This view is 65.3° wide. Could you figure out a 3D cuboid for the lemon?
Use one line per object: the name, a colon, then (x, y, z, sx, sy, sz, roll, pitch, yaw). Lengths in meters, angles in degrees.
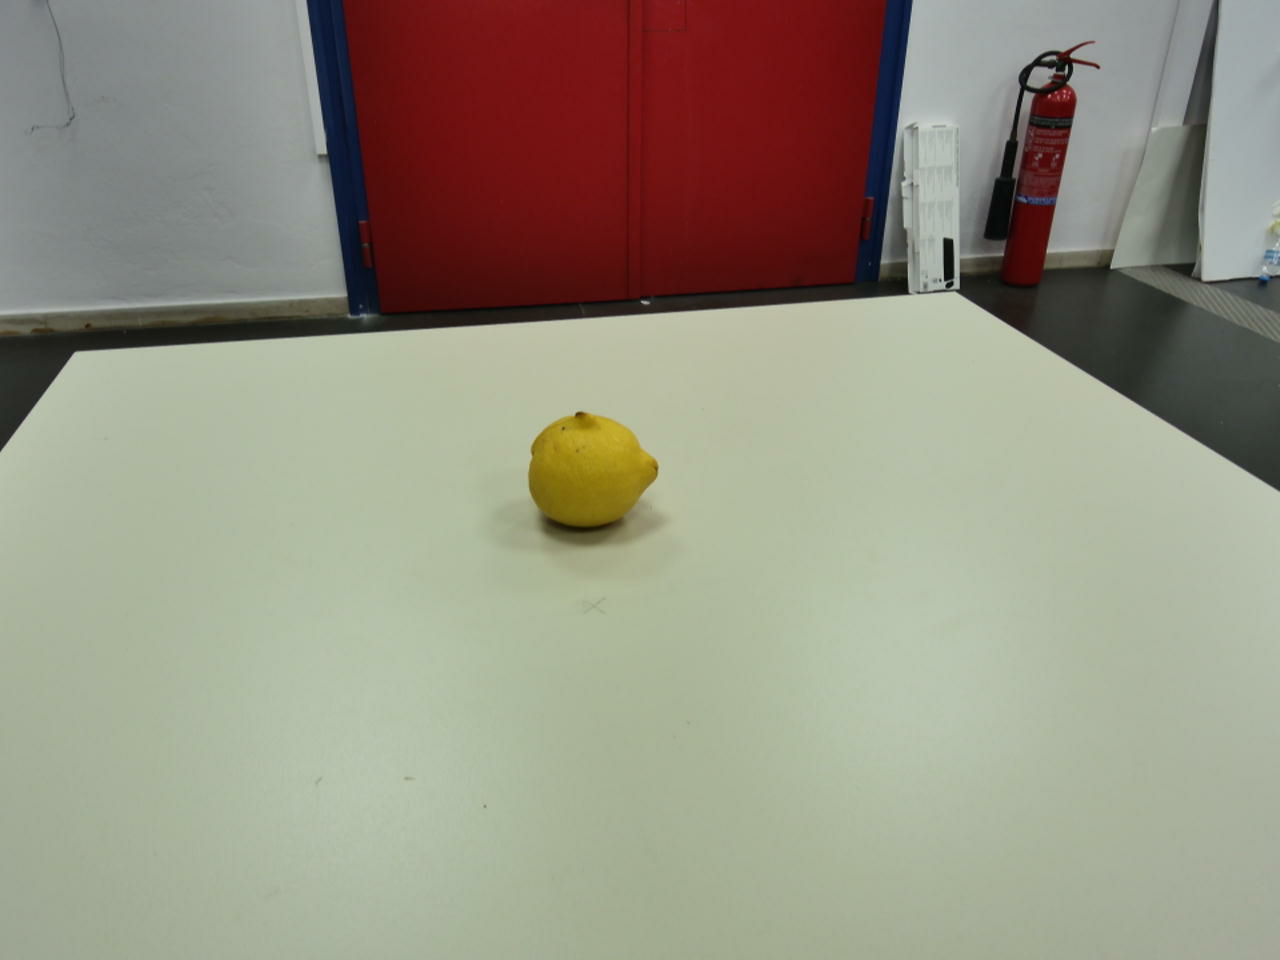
lemon: (-0.032, -0.009, 0.593, 0.071, 0.071, 0.070, 24, 34, 38)
